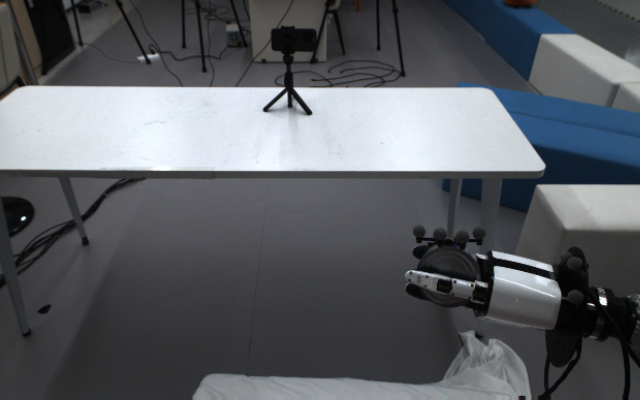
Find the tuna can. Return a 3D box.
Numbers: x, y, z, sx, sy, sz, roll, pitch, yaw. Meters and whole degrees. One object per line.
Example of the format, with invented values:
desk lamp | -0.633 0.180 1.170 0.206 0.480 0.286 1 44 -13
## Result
tuna can | 0.179 0.101 0.669 0.085 0.085 0.034 15 9 18
